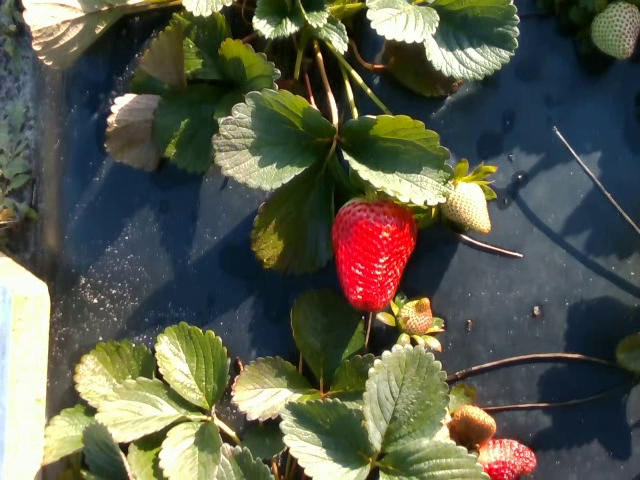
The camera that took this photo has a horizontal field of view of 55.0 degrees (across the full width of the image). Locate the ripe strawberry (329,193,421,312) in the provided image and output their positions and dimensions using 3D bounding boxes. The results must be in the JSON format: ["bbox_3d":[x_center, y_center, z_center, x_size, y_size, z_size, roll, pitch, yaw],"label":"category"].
[{"bbox_3d":[0.028,0.009,0.334,0.055,0.072,0.056,11,-23,-34],"label":"ripe strawberry"}]
